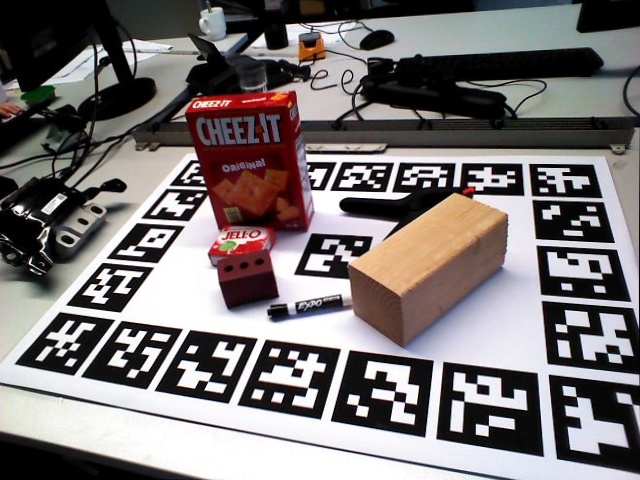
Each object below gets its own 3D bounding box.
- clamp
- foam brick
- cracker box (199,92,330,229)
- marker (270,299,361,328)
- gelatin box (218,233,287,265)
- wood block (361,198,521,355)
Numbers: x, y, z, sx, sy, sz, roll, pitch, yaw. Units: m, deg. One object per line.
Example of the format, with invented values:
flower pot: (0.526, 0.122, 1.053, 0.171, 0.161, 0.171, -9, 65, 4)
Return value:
clamp: (0.165, -0.039, 0.801, 0.203, 0.037, 0.165, -18, 39, -7)
foam brick: (-0.087, 0.065, 0.726, 0.078, 0.051, 0.052, -14, 40, -2)
cracker box: (-0.080, -0.117, 0.814, 0.165, 0.214, 0.071, 1, 39, 13)
marker: (-0.006, 0.098, 0.687, 0.121, 0.020, 0.019, -11, 40, 2)
gelatin box: (-0.103, 0.022, 0.806, 0.090, 0.030, 0.073, 1, 42, 17)
wood block: (0.161, 0.039, 0.667, 0.205, 0.091, 0.090, -31, 39, -27)
